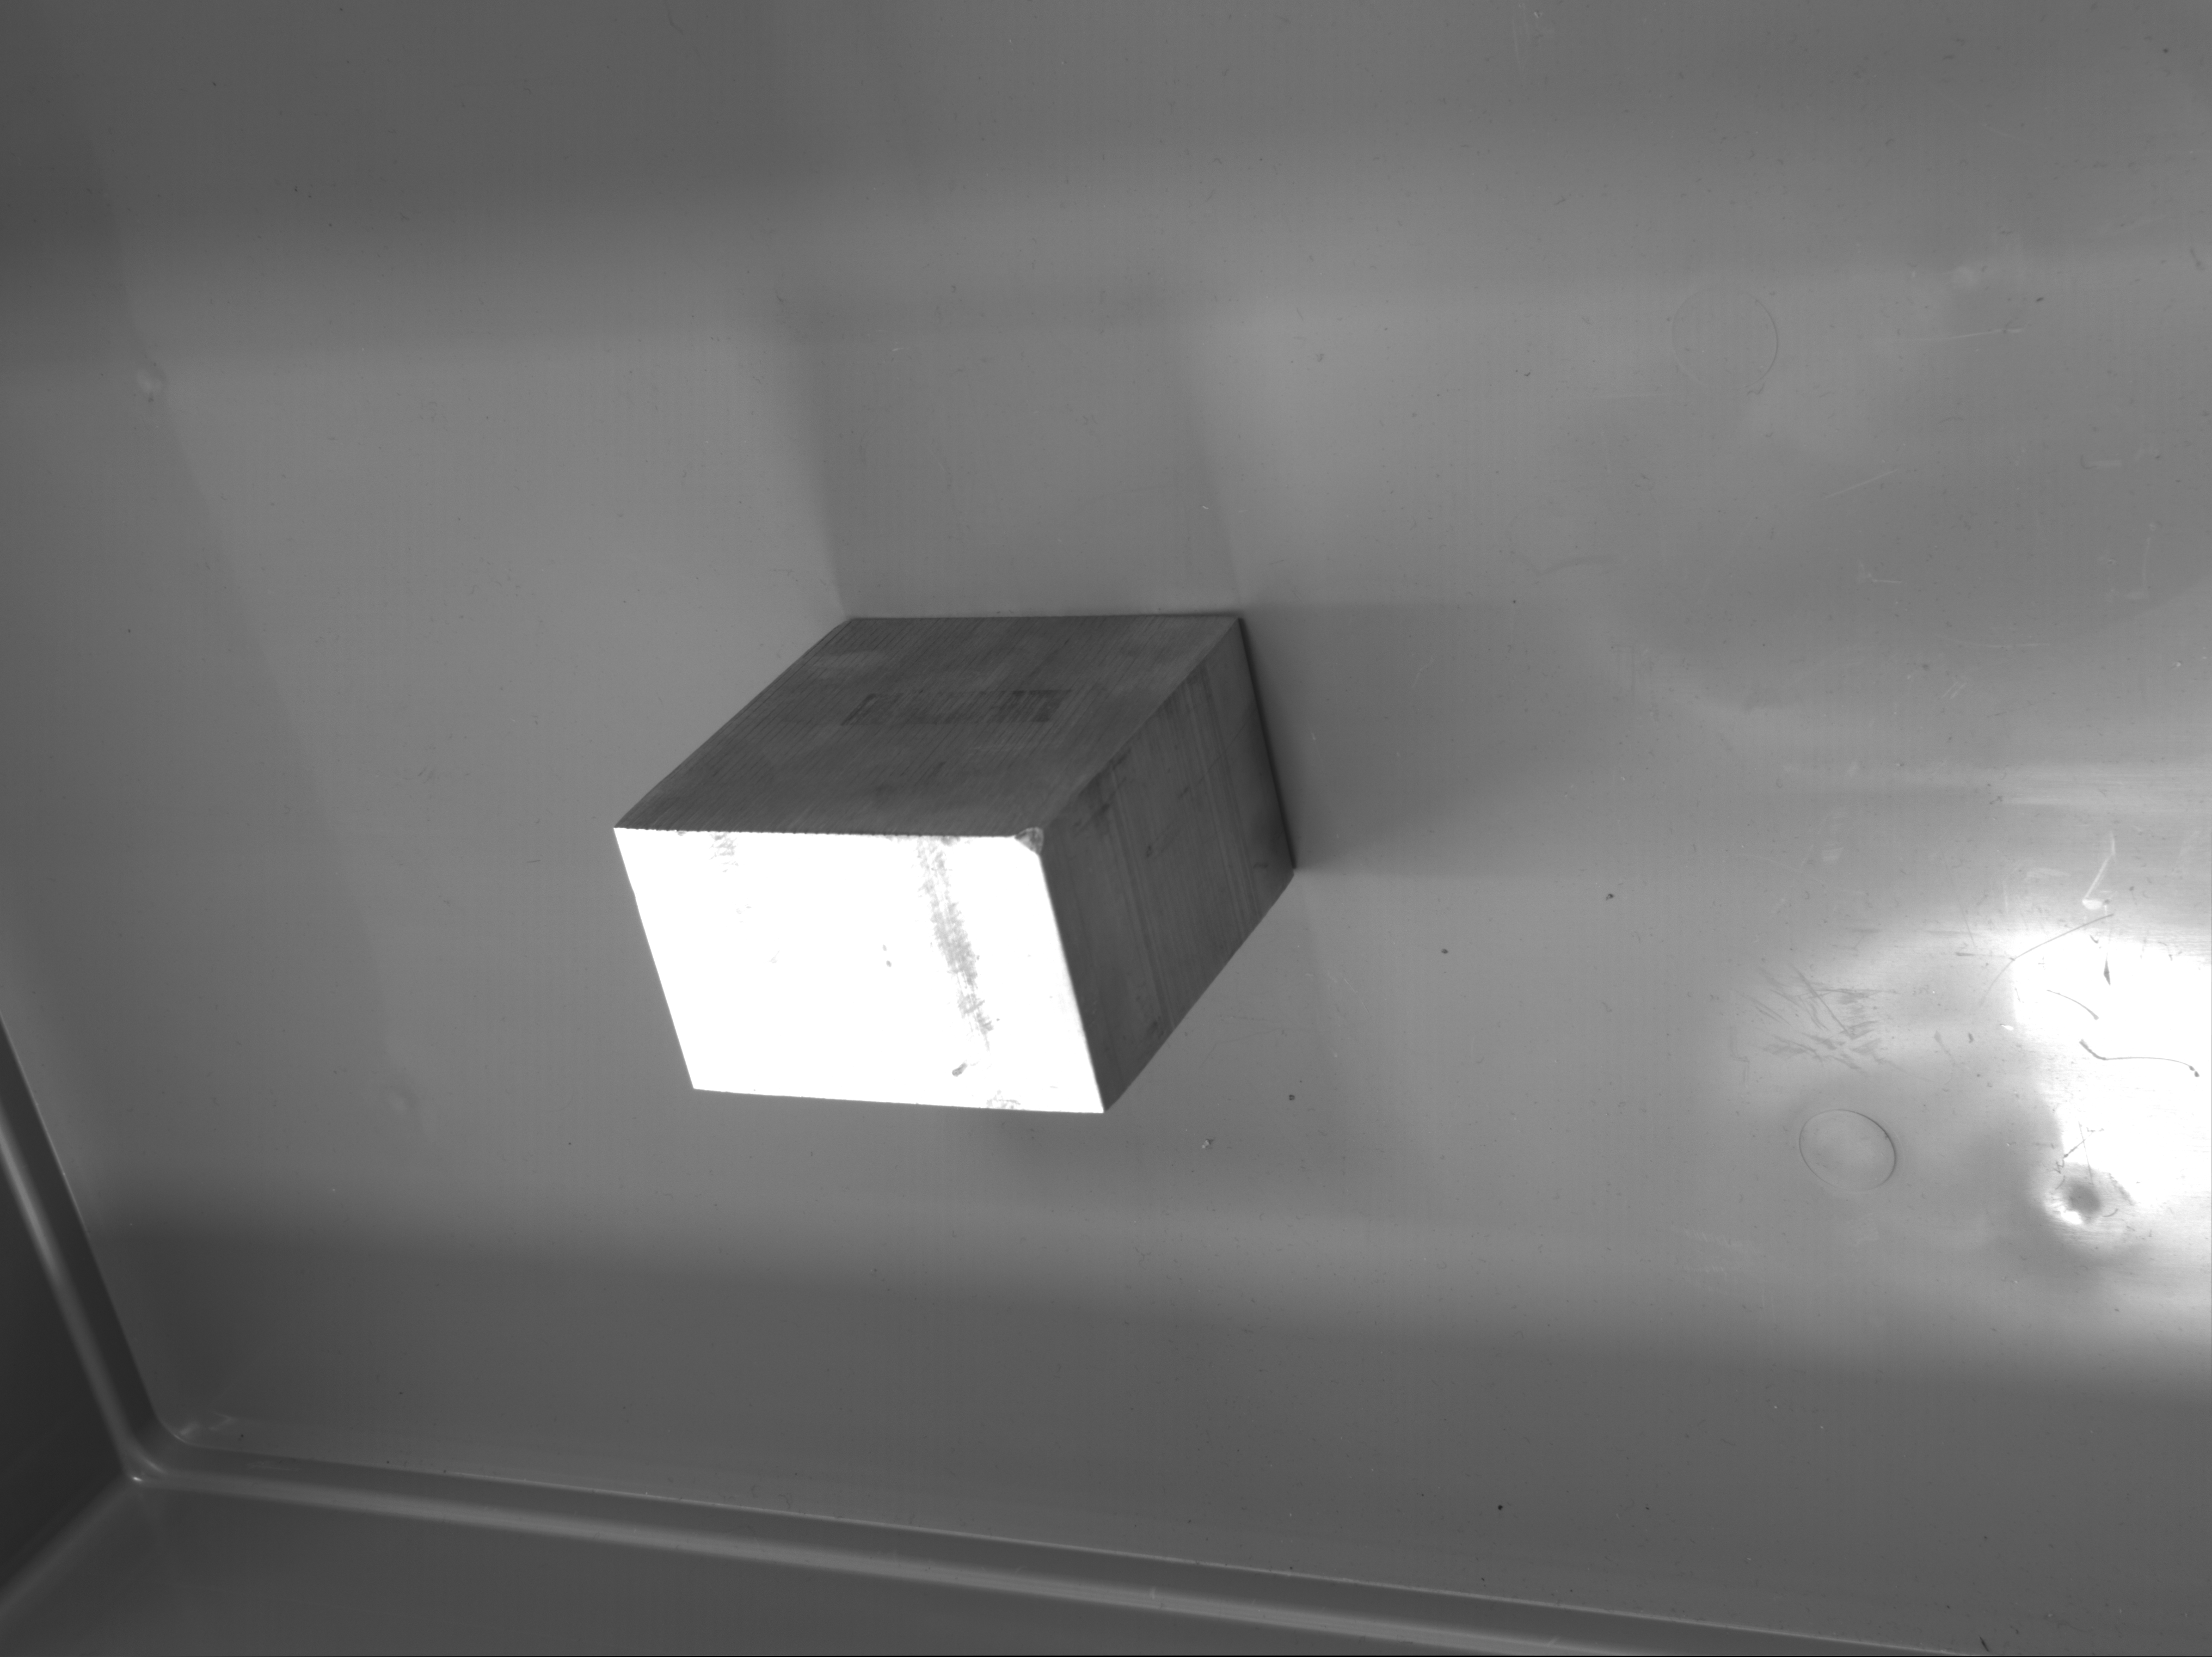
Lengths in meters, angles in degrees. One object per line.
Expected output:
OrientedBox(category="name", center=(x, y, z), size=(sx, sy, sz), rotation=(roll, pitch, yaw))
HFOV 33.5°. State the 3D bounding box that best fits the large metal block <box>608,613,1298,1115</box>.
OrientedBox(category="large metal block", center=(-0.024, 0.004, 0.621), size=(0.080, 0.080, 0.050), rotation=(1, 119, 28))
